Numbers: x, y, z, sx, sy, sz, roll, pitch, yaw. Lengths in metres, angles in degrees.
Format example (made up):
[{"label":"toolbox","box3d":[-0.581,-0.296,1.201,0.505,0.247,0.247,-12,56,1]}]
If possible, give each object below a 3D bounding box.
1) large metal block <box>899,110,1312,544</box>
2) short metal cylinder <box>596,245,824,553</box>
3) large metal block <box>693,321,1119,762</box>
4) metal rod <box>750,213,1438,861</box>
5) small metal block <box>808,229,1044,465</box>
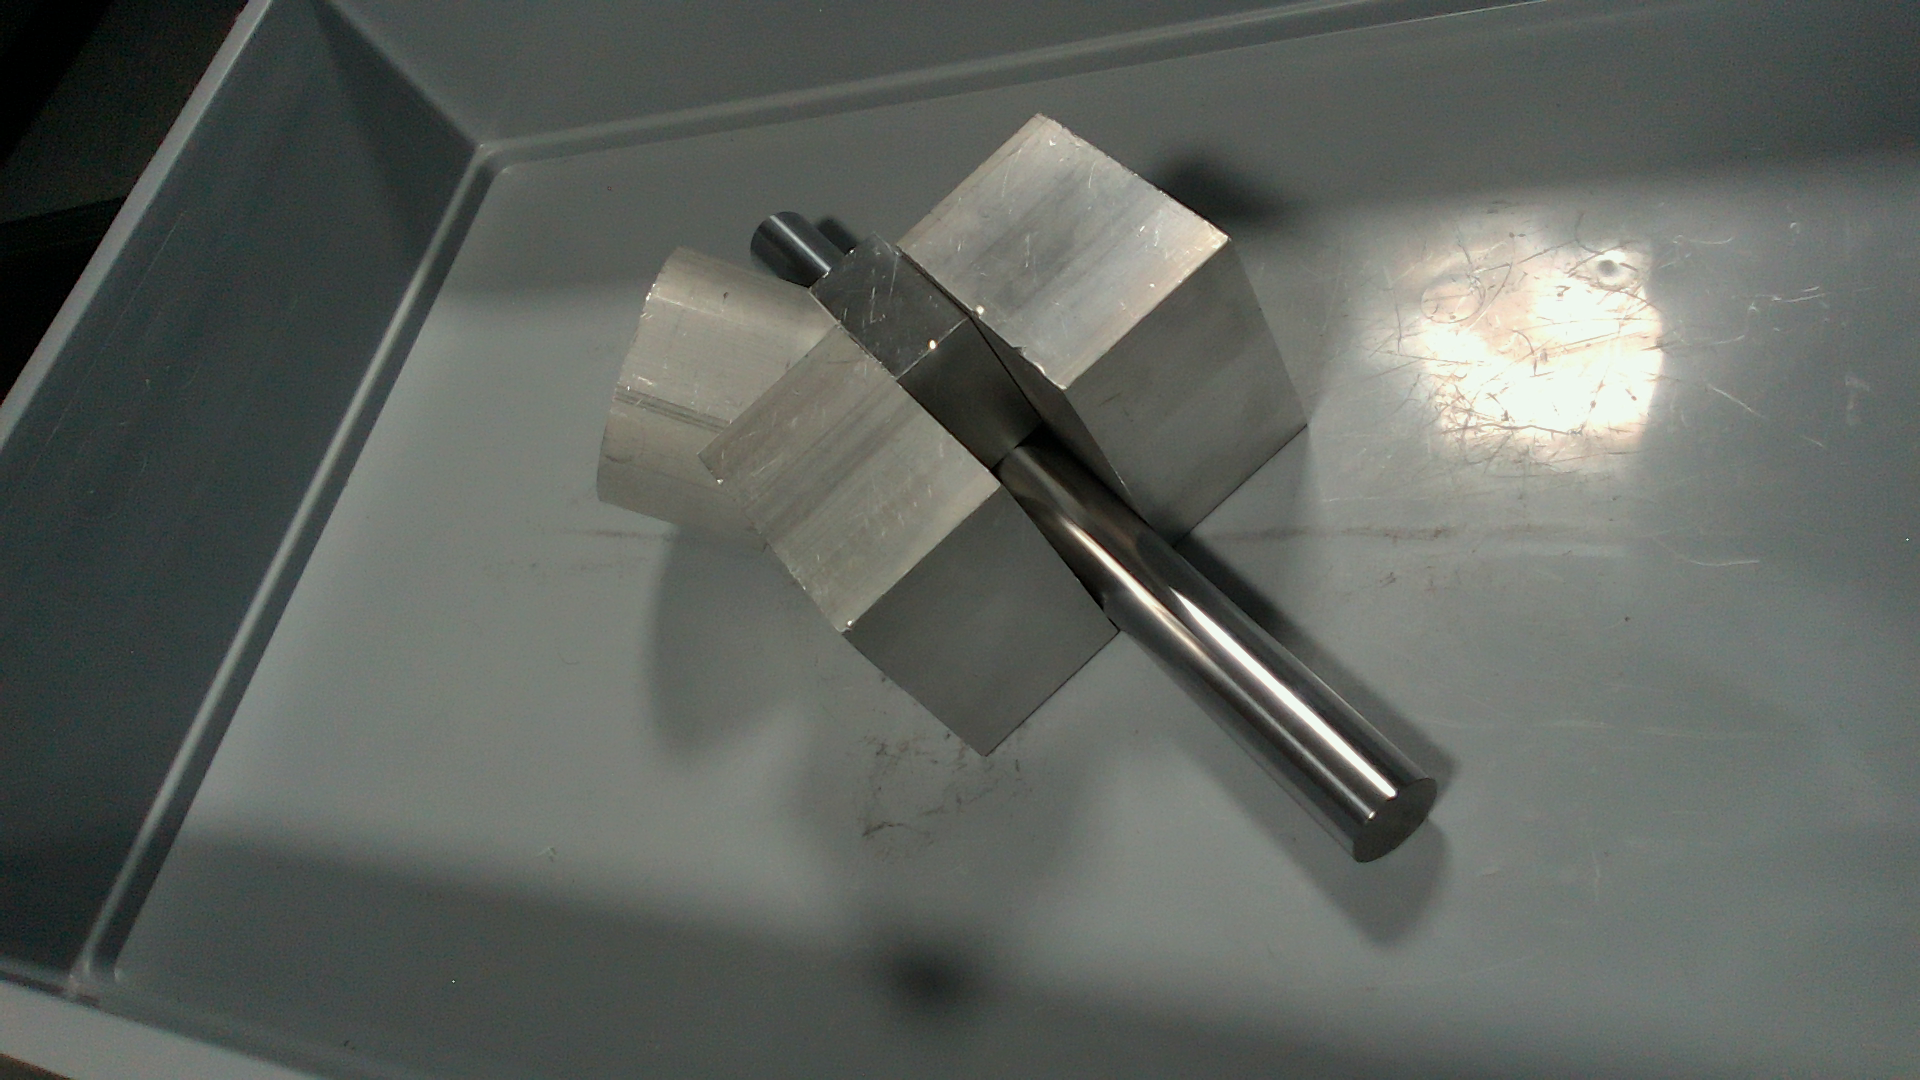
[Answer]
[{"label":"large metal block","box3d":[0.040,-0.056,0.371,0.050,0.080,0.080,-42,51,-1]},{"label":"short metal cylinder","box3d":[-0.071,-0.042,0.413,0.050,0.080,0.080,18,65,-7]},{"label":"large metal block","box3d":[-0.013,0.001,0.364,0.050,0.080,0.080,-43,51,-1]},{"label":"metal rod","box3d":[0.016,-0.022,0.398,0.025,0.025,0.299,-43,51,-1]},{"label":"small metal block","box3d":[-0.009,-0.052,0.383,0.025,0.050,0.050,-42,51,0]}]
